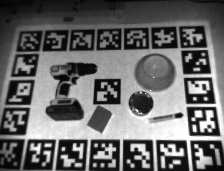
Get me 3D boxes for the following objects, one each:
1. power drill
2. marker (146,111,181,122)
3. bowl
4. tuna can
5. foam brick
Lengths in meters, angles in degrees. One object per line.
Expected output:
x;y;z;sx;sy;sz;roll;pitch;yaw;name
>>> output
-0.164;0.009;0.796;0.184;0.057;0.186;-1;68;1;power drill
0.178;0.106;0.747;0.121;0.020;0.019;-10;71;1;marker
0.146;-0.066;0.804;0.161;0.055;0.161;-3;63;7;bowl
0.093;0.056;0.765;0.085;0.034;0.085;-1;70;2;tuna can
-0.052;0.115;0.754;0.051;0.053;0.078;23;75;12;foam brick
